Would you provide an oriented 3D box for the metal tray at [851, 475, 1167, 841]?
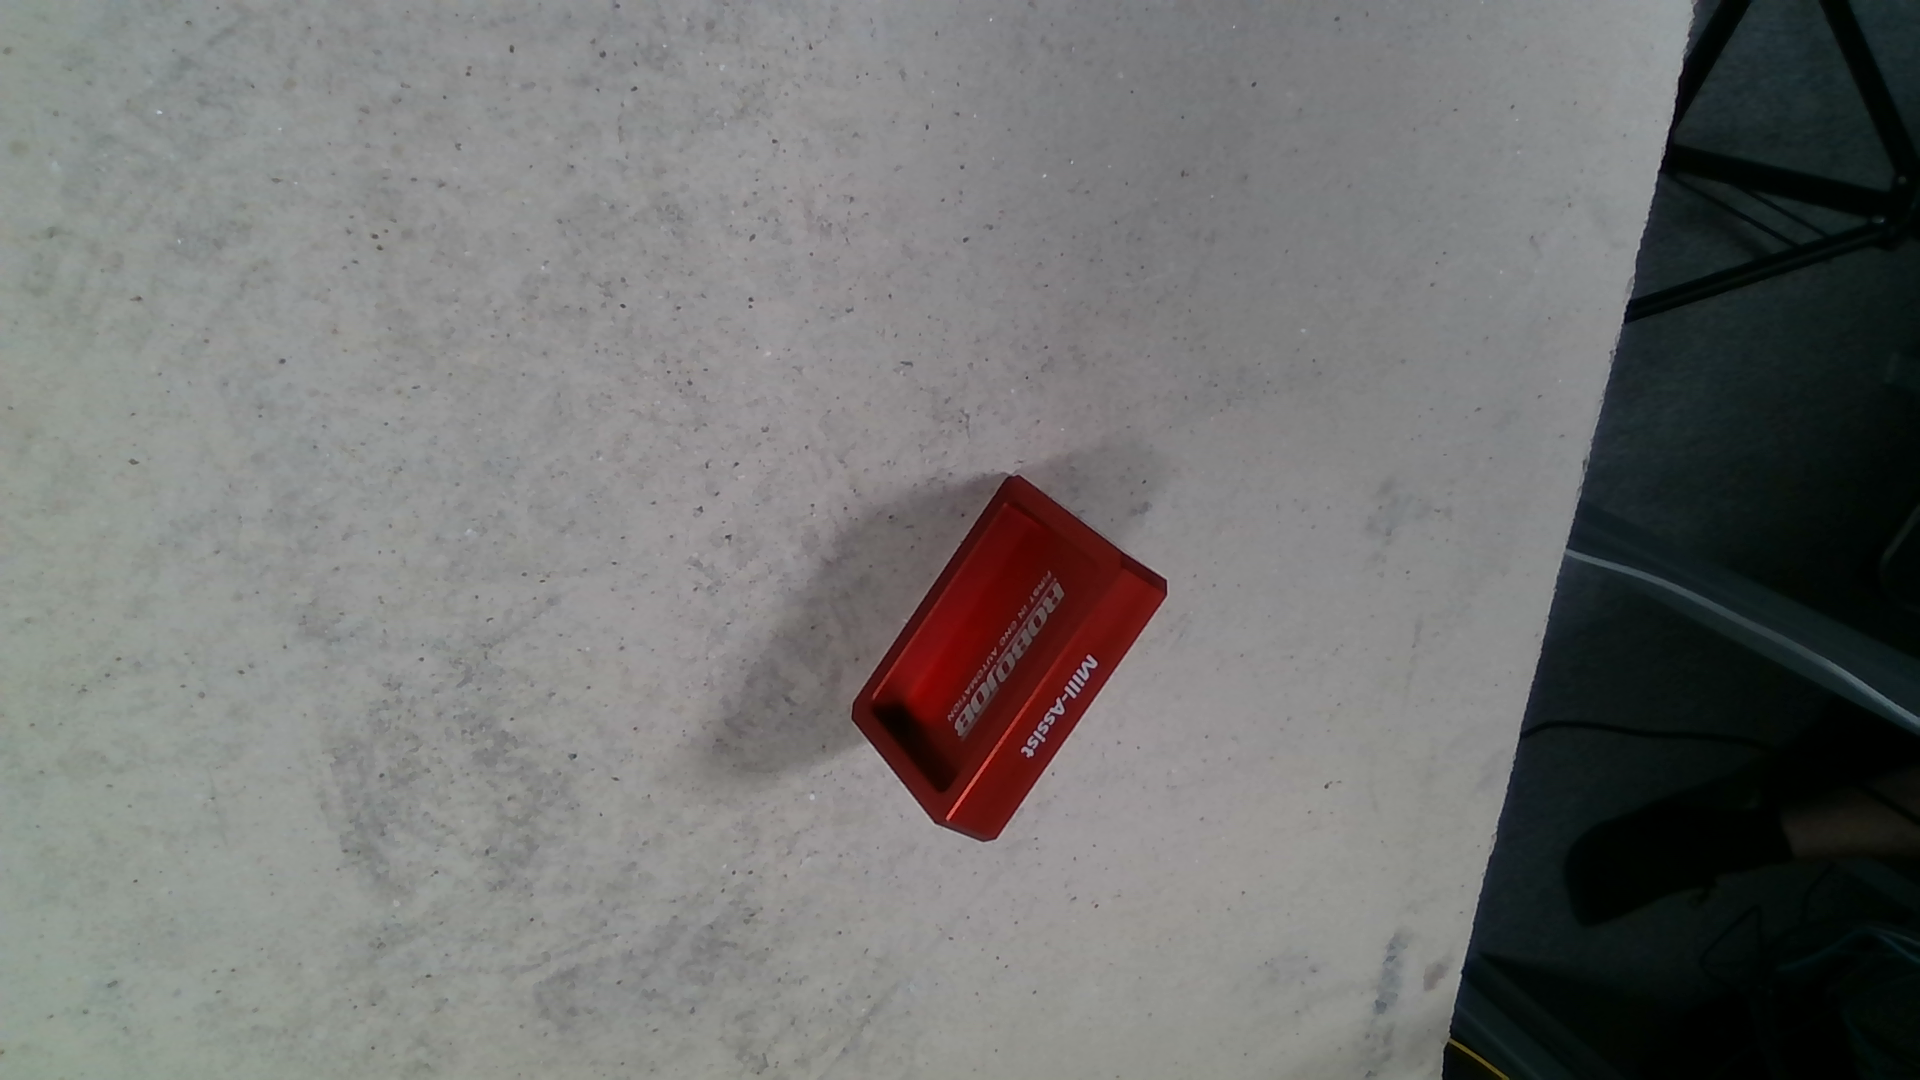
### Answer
[{"bbox_3d":[0.017,0.047,0.575,0.030,0.090,0.130,30,97,-39],"label":"metal tray"}]
